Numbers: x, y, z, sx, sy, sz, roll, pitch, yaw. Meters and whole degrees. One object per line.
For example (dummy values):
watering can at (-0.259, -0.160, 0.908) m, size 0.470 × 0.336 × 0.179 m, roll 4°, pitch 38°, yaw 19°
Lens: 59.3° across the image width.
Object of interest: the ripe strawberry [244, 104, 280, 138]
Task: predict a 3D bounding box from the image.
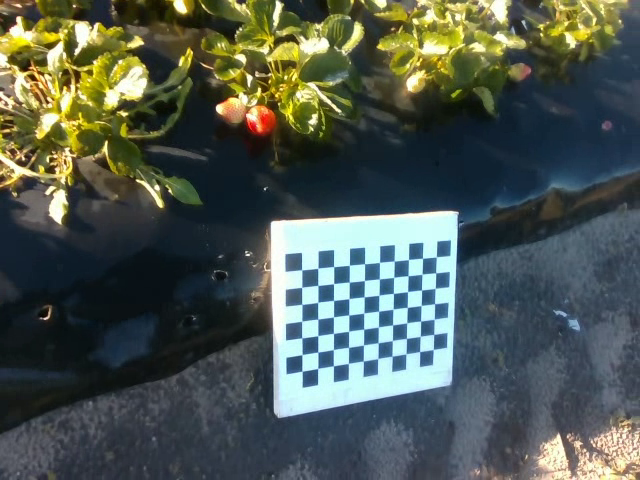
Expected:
ripe strawberry at (-0.070, -0.141, 0.659) m, size 0.040 × 0.038 × 0.056 m, roll -15°, pitch 18°, yaw 8°
